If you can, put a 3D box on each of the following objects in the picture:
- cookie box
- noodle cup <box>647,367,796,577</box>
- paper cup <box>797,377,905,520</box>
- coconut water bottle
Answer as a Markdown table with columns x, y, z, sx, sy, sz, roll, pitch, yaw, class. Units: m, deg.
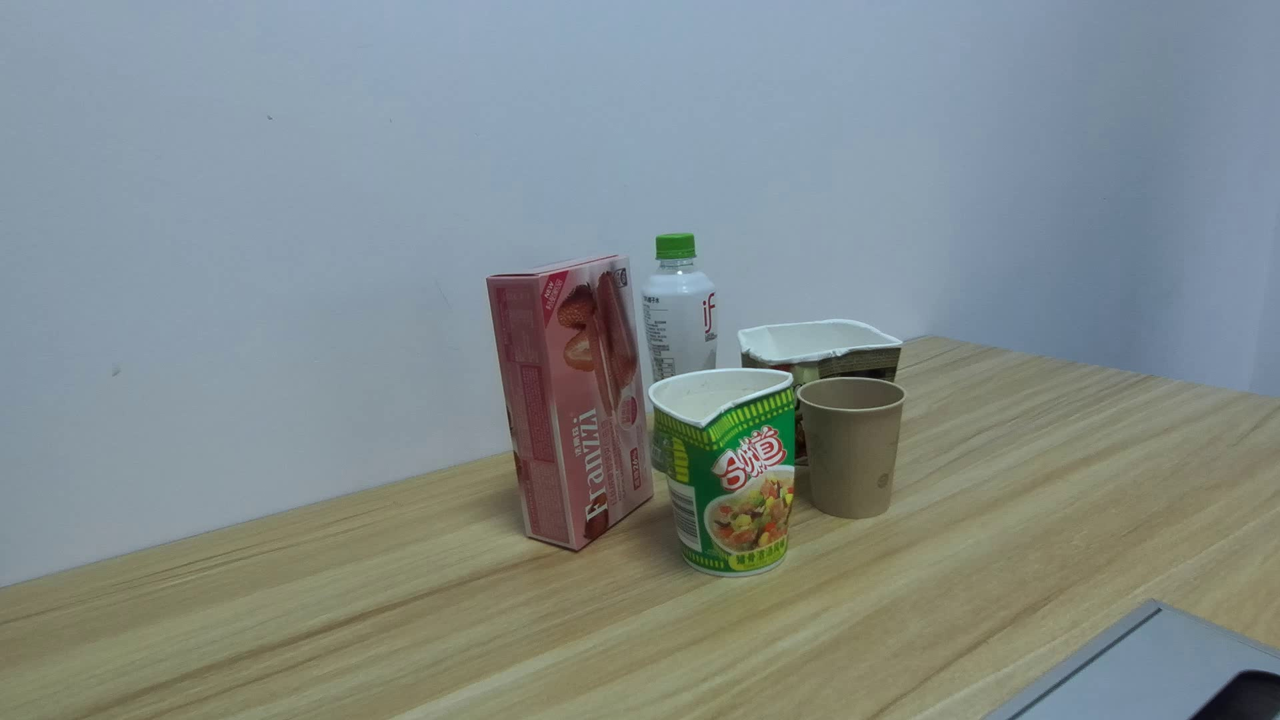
| x | y | z | sx | sy | sz | roll | pitch | yaw | class |
| --- | --- | --- | --- | --- | --- | --- | --- | --- | --- |
| -0.042 | 0.026 | 0.494 | 0.048 | 0.184 | 0.096 | 4 | 17 | 35 | cookie box |
| 0.056 | 0.068 | 0.444 | 0.094 | 0.109 | 0.086 | -12 | 17 | -21 | noodle cup |
| 0.147 | 0.062 | 0.493 | 0.075 | 0.082 | 0.075 | -4 | 15 | 1 | paper cup |
| 0.035 | -0.005 | 0.572 | 0.063 | 0.188 | 0.063 | -4 | 11 | 1 | coconut water bottle |
